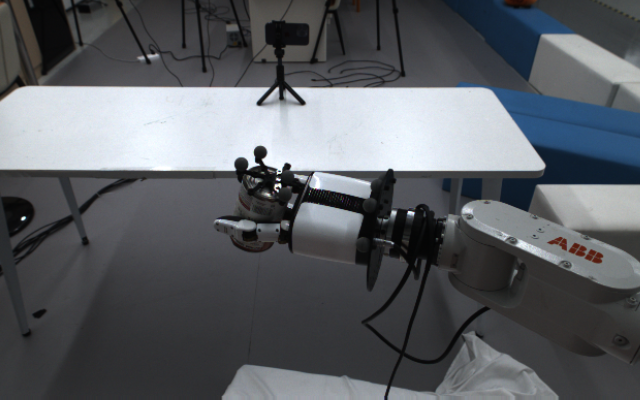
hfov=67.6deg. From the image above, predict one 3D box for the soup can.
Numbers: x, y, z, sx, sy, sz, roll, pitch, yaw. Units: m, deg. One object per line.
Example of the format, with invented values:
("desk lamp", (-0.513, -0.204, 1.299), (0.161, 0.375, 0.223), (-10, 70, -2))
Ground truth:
("soup can", (-0.080, 0.014, 0.651), (0.067, 0.101, 0.067), (14, 40, -12))
